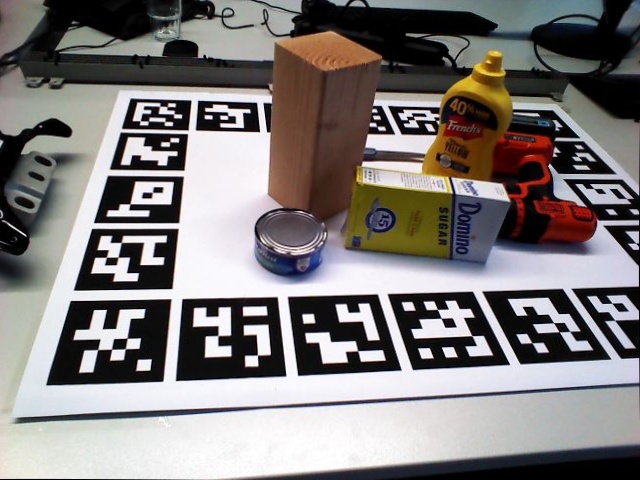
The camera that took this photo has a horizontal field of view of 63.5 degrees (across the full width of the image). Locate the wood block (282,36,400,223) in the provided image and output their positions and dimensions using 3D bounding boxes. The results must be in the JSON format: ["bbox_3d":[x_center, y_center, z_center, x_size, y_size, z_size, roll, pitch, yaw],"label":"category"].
[{"bbox_3d":[0.016,-0.125,0.631,0.090,0.207,0.090,-23,51,-28],"label":"wood block"}]

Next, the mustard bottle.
[{"bbox_3d":[0.228,-0.149,0.694,0.096,0.192,0.058,36,50,26],"label":"mustard bottle"}]

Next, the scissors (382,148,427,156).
[{"bbox_3d":[0.076,-0.131,0.771,0.203,0.016,0.087,1,39,-7],"label":"scissors"}]

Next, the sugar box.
[{"bbox_3d":[0.147,-0.023,0.609,0.177,0.093,0.045,9,39,-1],"label":"sugar box"}]

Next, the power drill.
[{"bbox_3d":[0.276,-0.072,0.703,0.185,0.057,0.186,8,49,2],"label":"power drill"}]

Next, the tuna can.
[{"bbox_3d":[-0.019,0.002,0.596,0.086,0.034,0.085,4,43,-4],"label":"tuna can"}]
